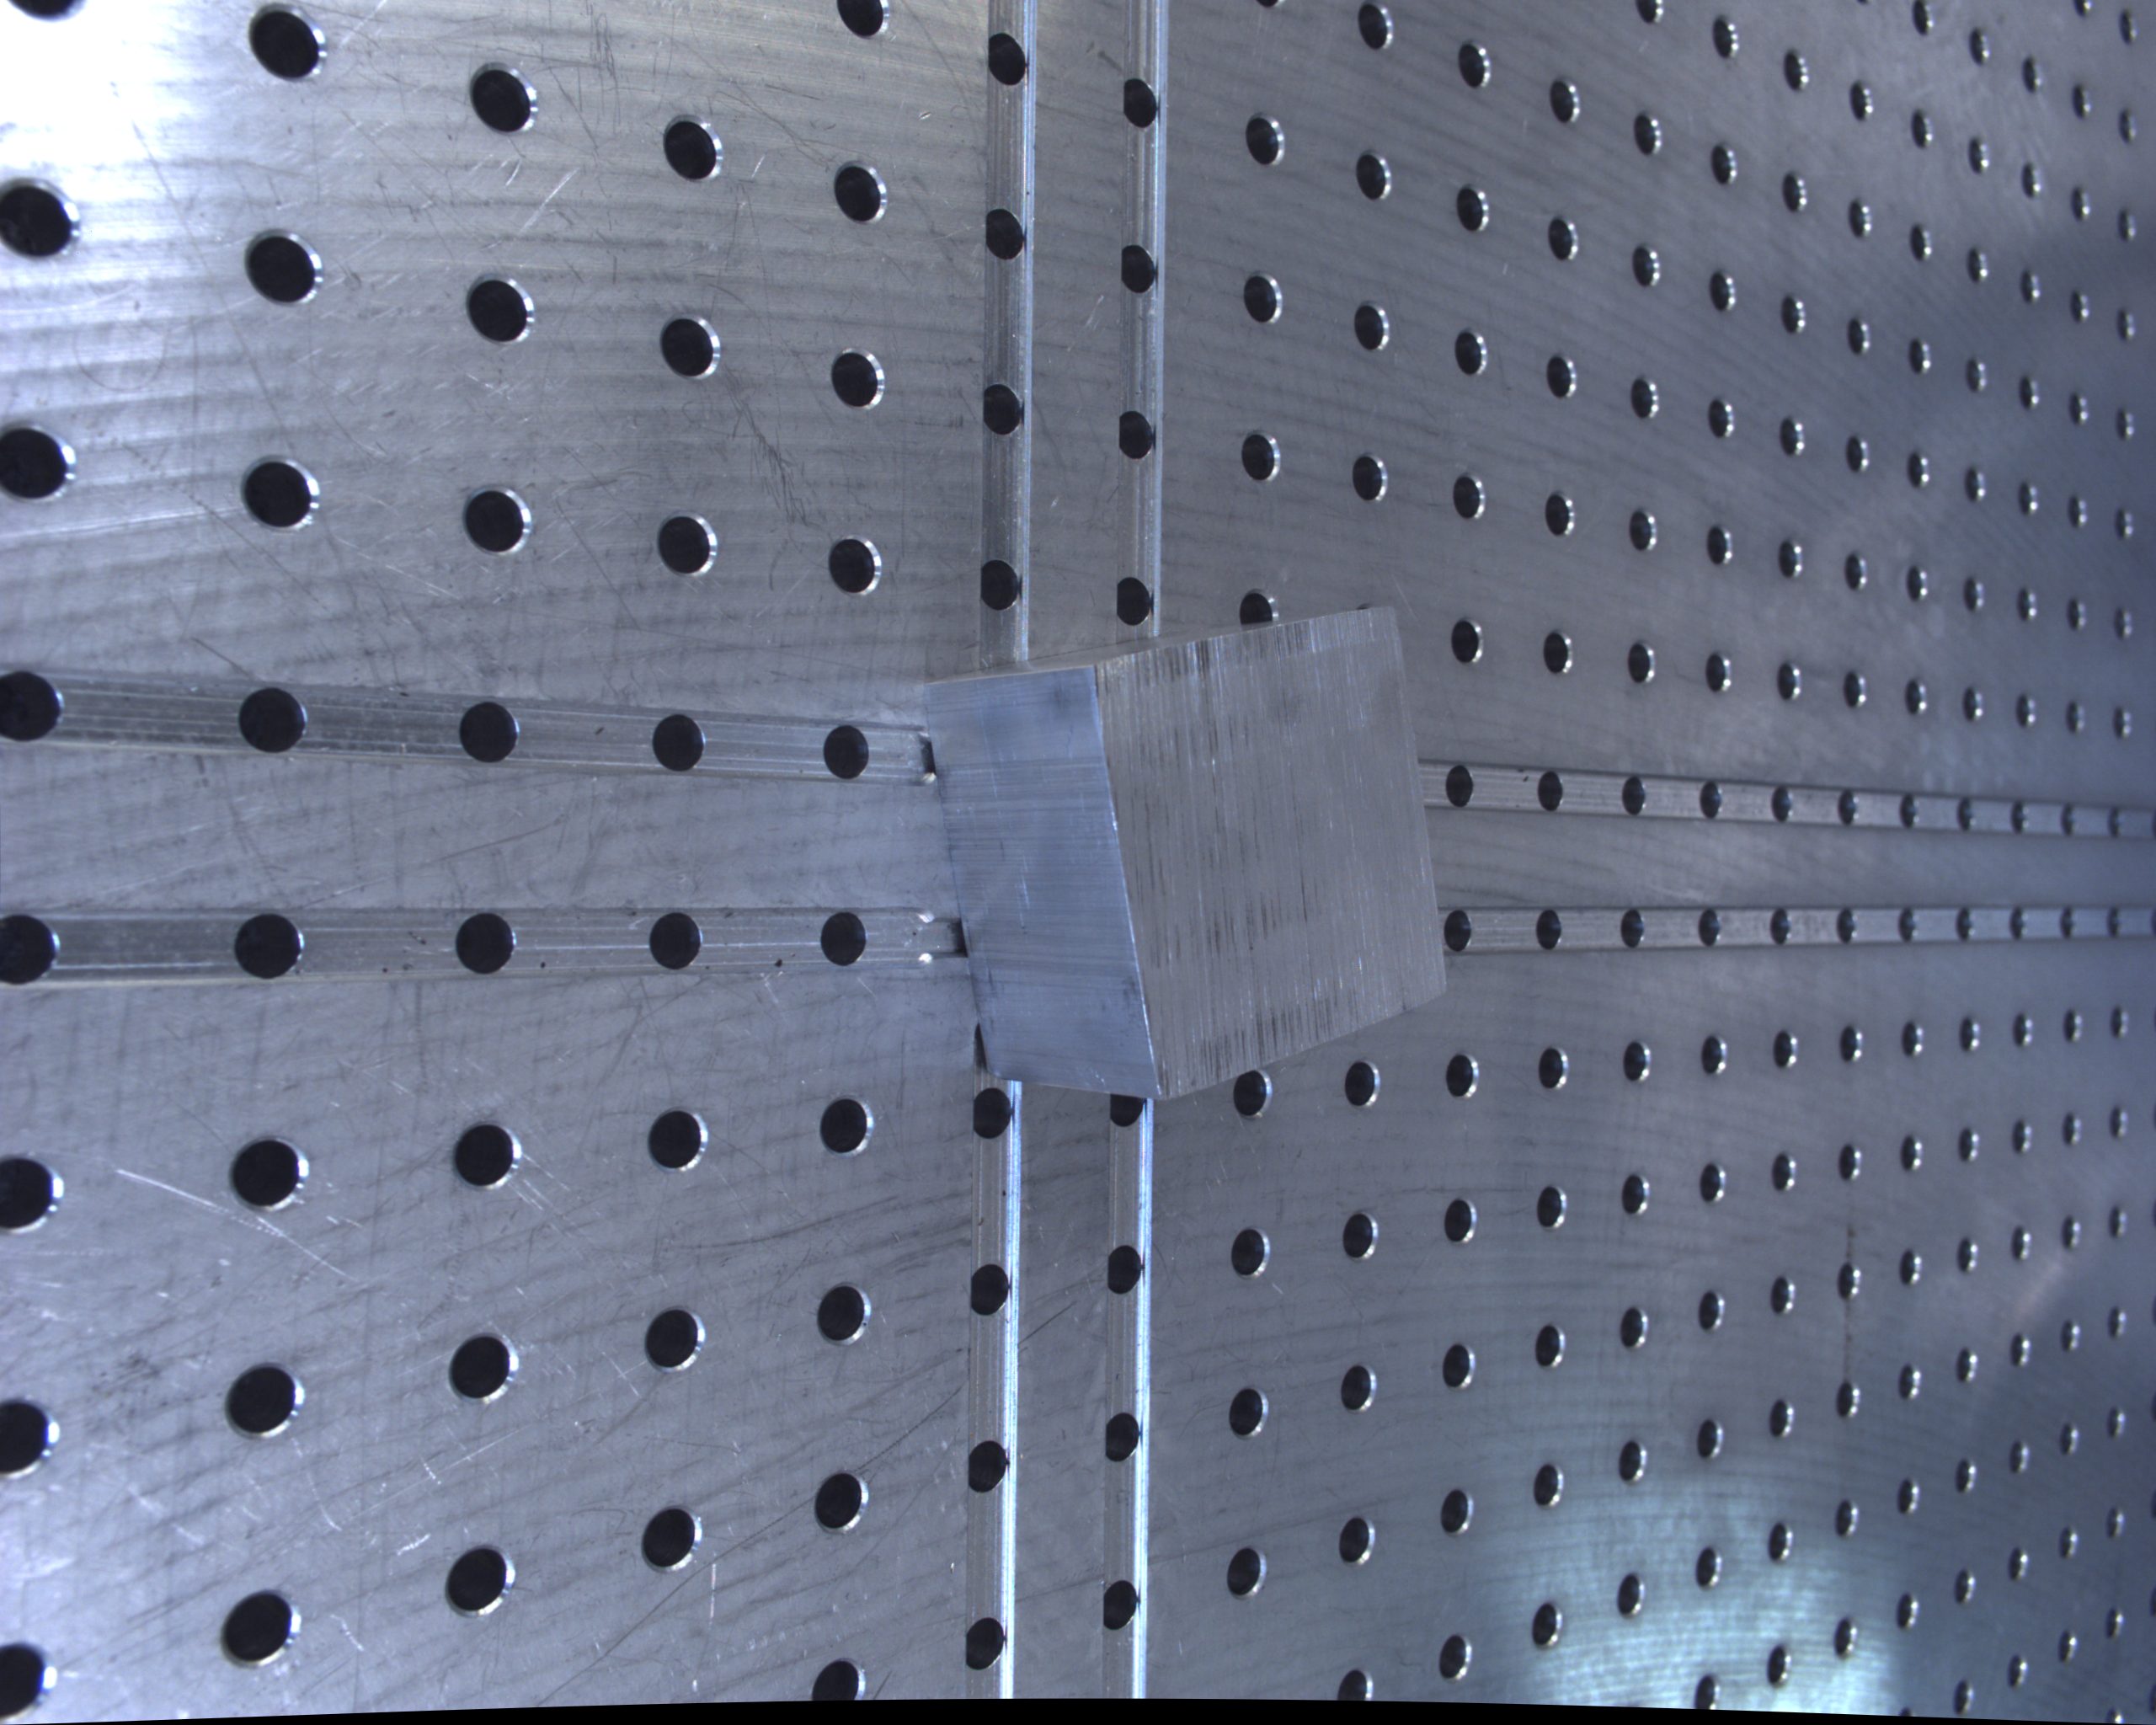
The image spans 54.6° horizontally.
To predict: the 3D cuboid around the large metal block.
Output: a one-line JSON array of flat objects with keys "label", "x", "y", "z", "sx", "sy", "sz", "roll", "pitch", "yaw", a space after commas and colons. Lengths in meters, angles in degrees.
[{"label": "large metal block", "x": 0.023, "y": -0.004, "z": 0.410, "sx": 0.081, "sy": 0.050, "sz": 0.080, "roll": -16, "pitch": 100, "yaw": -39}]
